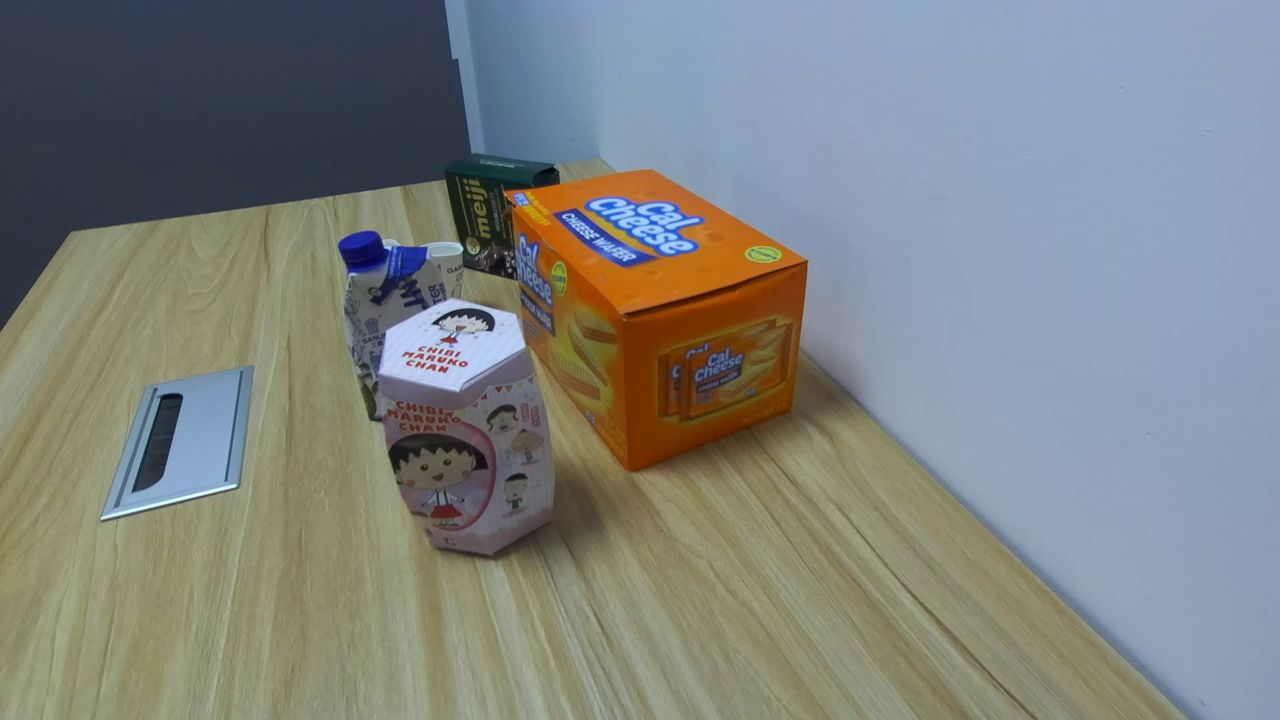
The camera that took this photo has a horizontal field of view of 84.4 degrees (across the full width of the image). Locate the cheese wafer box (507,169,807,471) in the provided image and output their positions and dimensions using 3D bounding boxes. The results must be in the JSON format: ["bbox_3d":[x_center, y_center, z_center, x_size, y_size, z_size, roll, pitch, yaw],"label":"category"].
[{"bbox_3d":[0.003,-0.050,0.559,0.150,0.137,0.226,-18,38,-21],"label":"cheese wafer box"}]

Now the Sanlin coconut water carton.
[{"bbox_3d":[-0.178,-0.023,0.522,0.068,0.144,0.056,0,37,-11],"label":"Sanlin coconut water carton"}]

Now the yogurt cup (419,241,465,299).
[{"bbox_3d":[-0.203,-0.079,0.671,0.075,0.071,0.053,-8,39,-11],"label":"yogurt cup"}]

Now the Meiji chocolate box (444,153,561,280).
[{"bbox_3d":[-0.135,-0.146,0.722,0.122,0.116,0.058,17,37,24],"label":"Meiji chocolate box"}]
